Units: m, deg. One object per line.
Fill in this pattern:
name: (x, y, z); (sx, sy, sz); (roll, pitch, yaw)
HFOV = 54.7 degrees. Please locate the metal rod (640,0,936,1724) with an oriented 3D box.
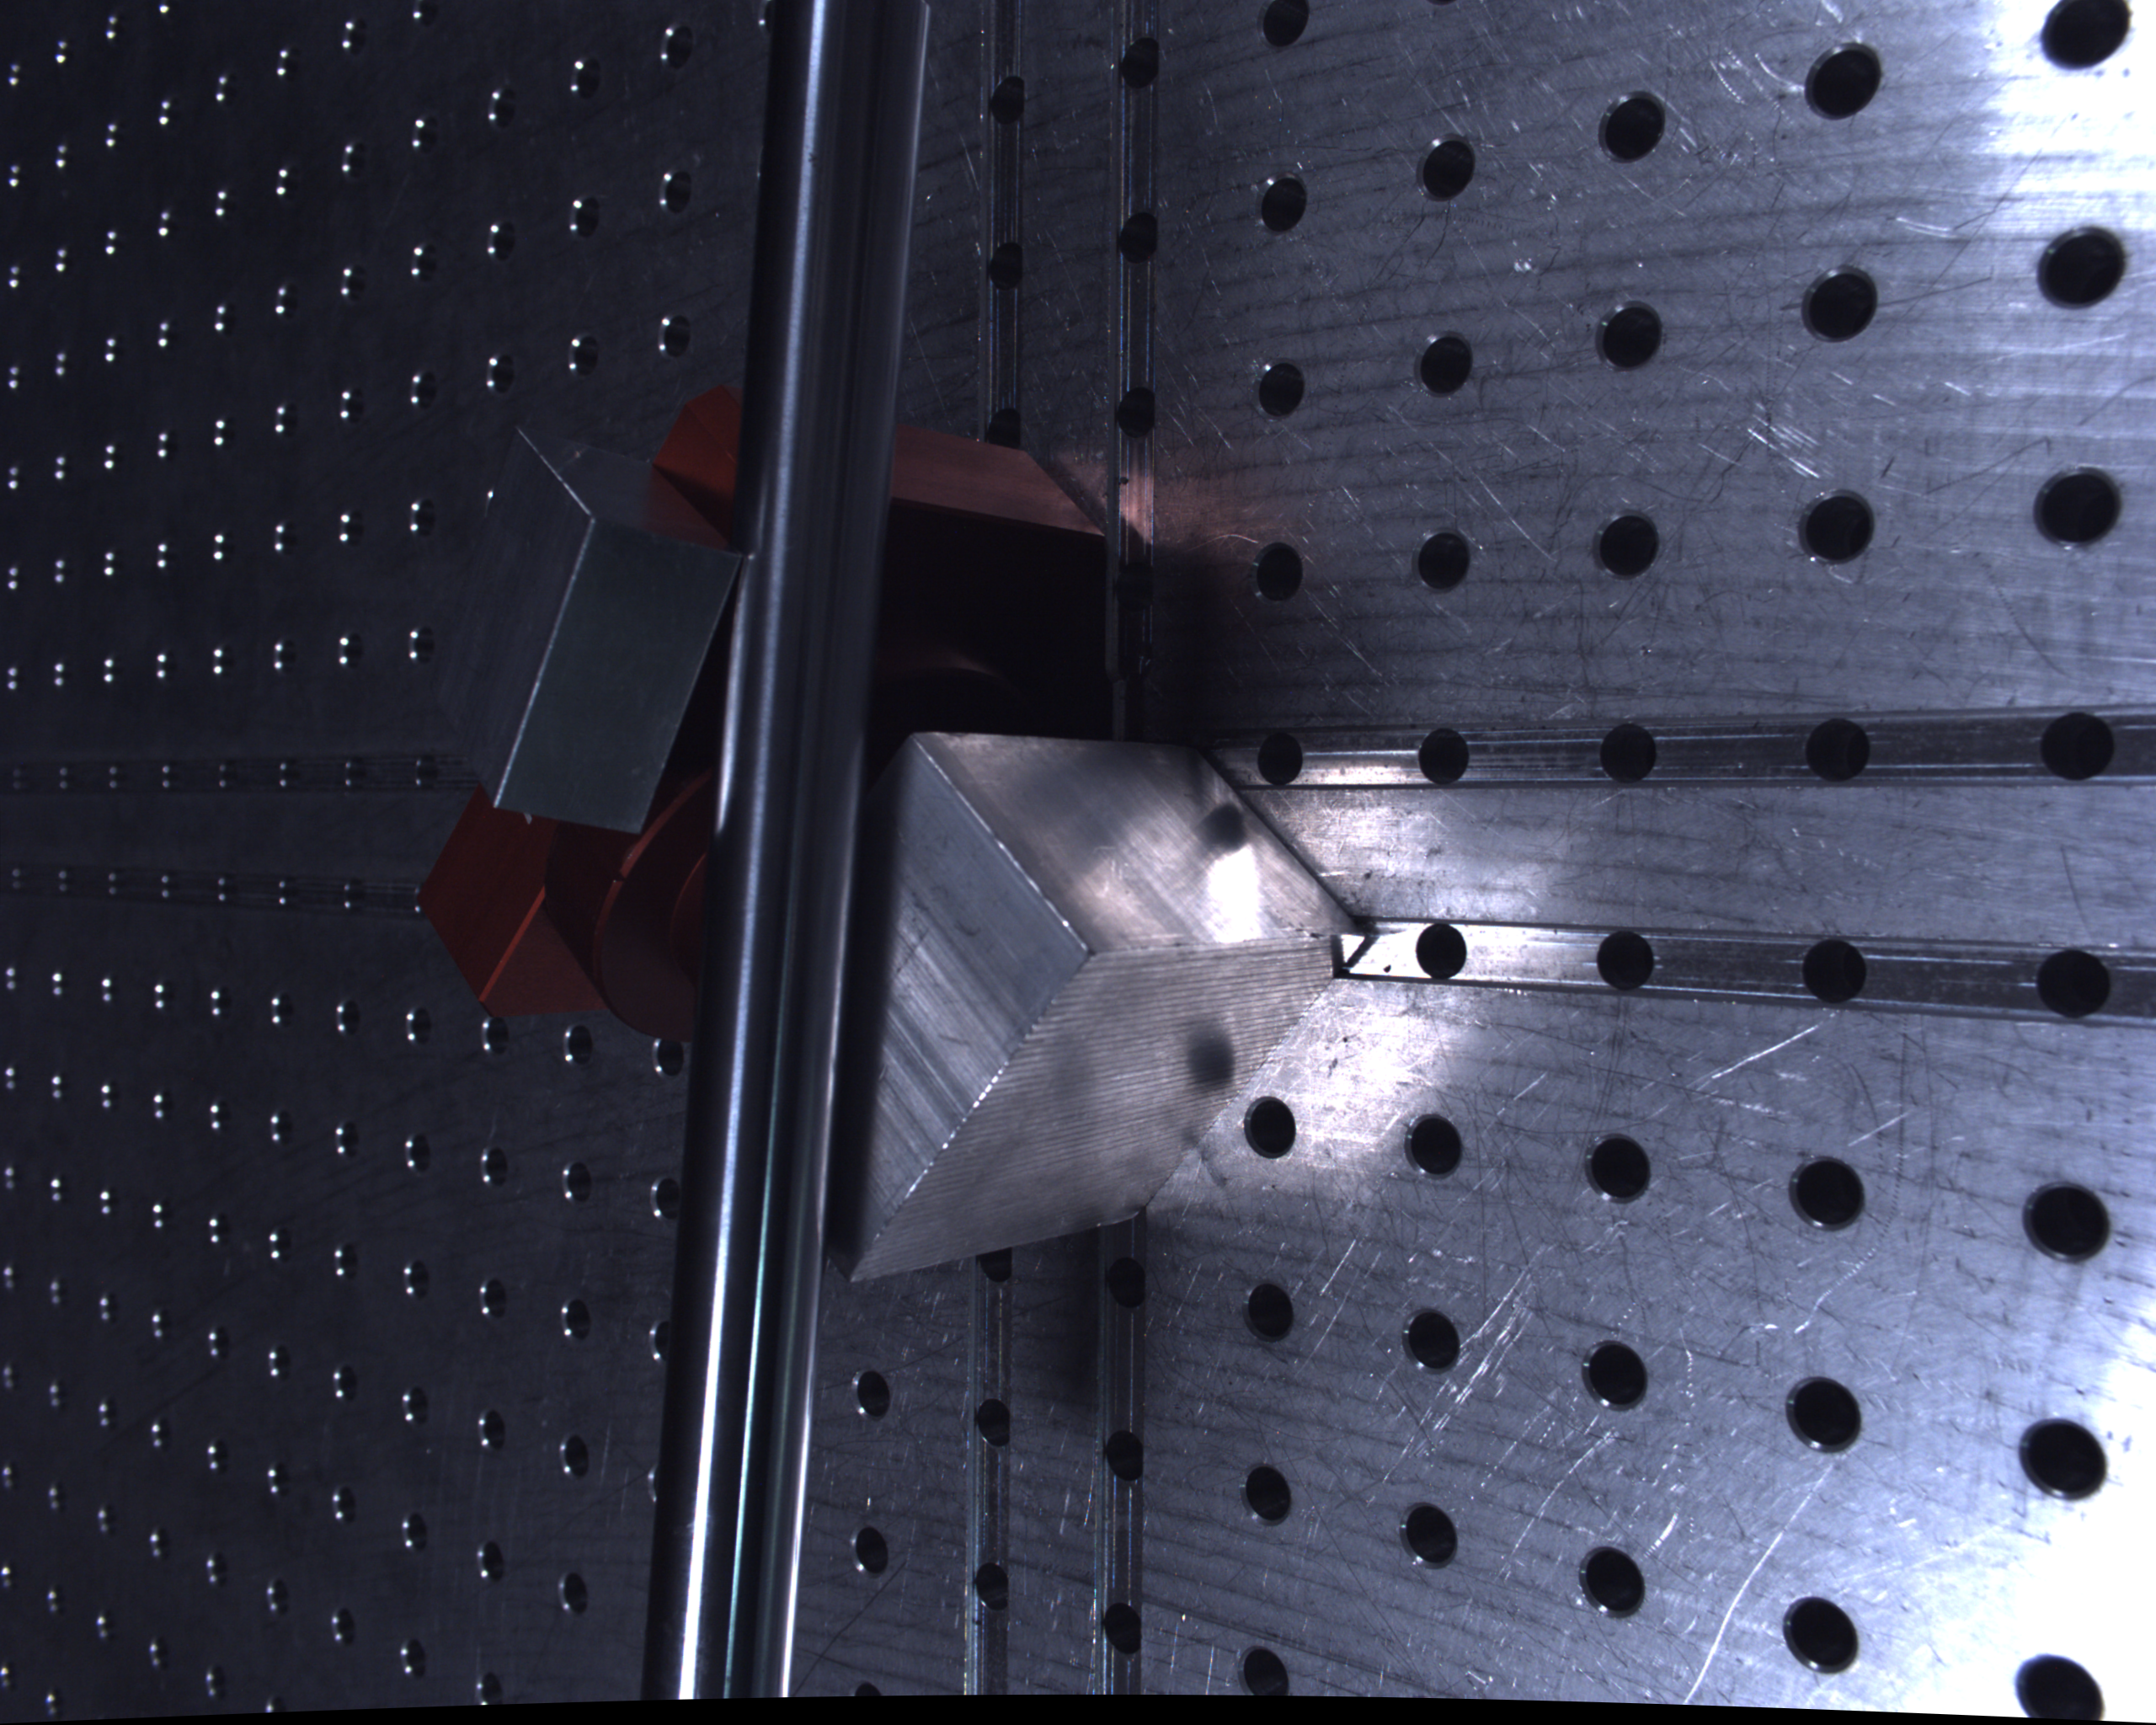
metal rod: (-0.049, 0.011, 0.343); (0.025, 0.025, 0.298); (9, 96, 39)

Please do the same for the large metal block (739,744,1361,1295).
large metal block: (-0.010, 0.027, 0.376); (0.050, 0.081, 0.080); (50, 119, 28)

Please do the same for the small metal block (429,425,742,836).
small metal block: (-0.084, -0.039, 0.349); (0.050, 0.025, 0.050); (45, 117, 51)

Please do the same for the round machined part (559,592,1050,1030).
round machined part: (-0.045, -0.001, 0.402); (0.042, 0.099, 0.097); (50, 119, 28)

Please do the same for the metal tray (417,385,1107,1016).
metal tray: (-0.063, -0.027, 0.416); (0.030, 0.091, 0.129); (51, 119, 28)
